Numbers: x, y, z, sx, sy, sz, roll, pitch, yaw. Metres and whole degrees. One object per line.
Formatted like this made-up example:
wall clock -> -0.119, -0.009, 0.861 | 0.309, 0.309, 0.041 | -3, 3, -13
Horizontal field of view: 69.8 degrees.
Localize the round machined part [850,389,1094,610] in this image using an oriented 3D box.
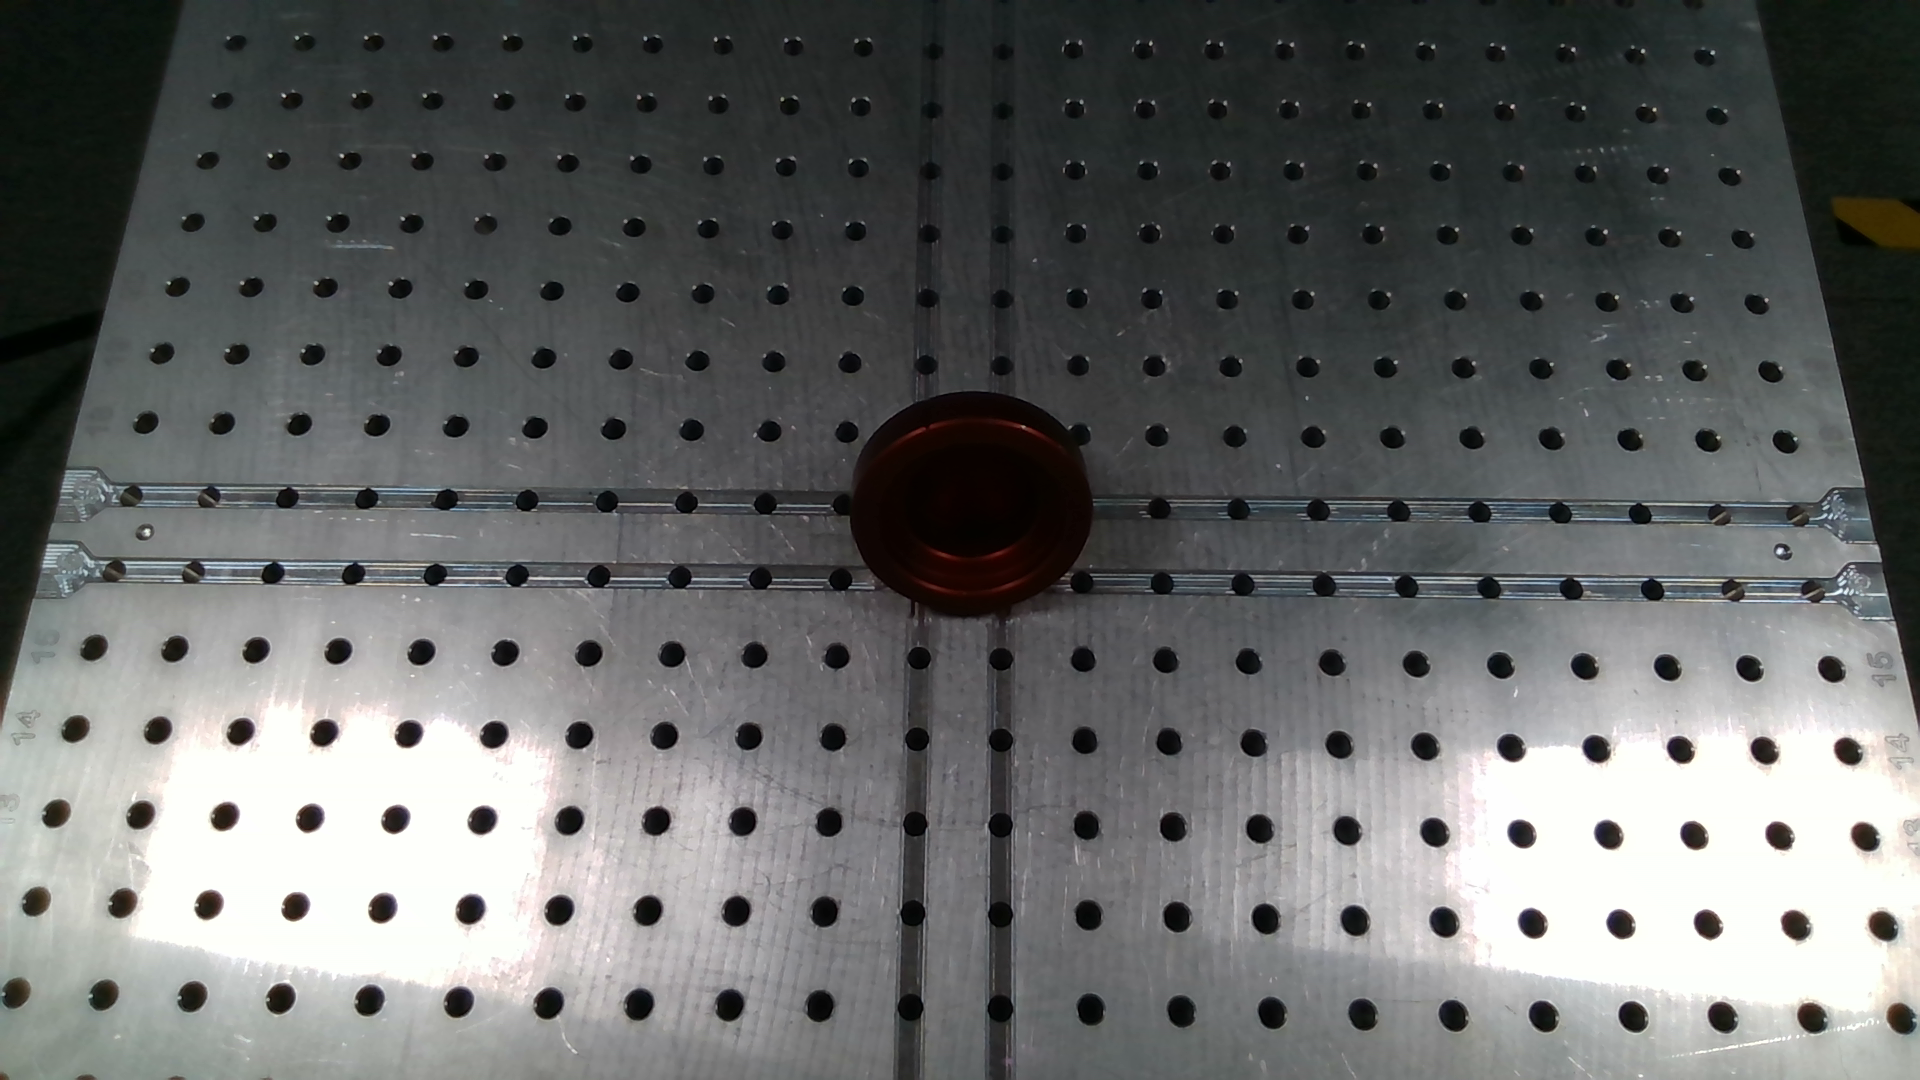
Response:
round machined part -> 0.004, -0.021, 0.569 | 0.098, 0.098, 0.042 | -3, 39, -1
